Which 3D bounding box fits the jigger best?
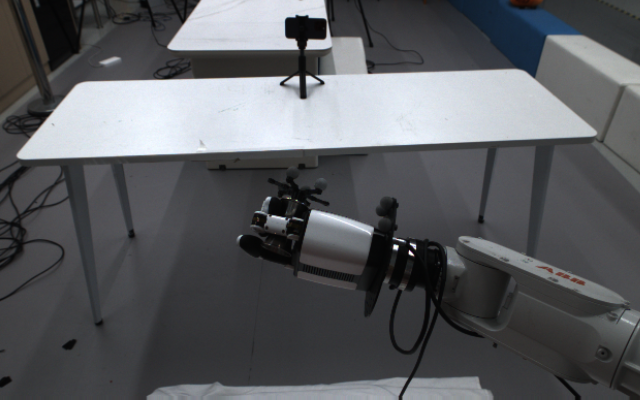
[{"bbox_3d":[-0.044,0.033,0.635,0.043,0.043,0.071,15,70,18],"label":"jigger"}]
